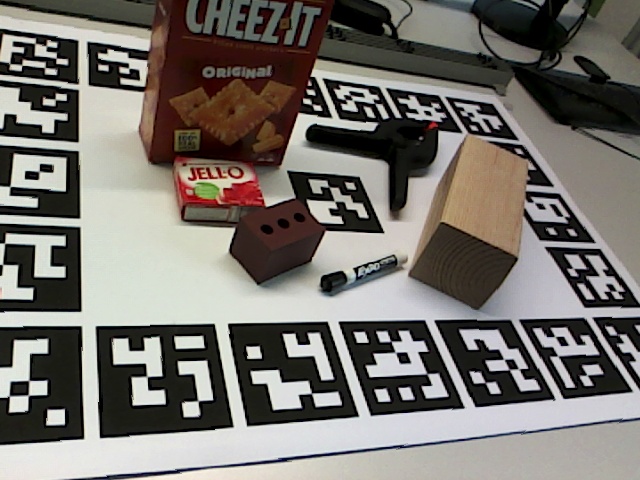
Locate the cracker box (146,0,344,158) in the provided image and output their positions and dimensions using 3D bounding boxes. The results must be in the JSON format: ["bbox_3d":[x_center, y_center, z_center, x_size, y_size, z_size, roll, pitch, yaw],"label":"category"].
[{"bbox_3d":[-0.089,-0.190,0.676,0.163,0.214,0.072,0,48,-28],"label":"cracker box"}]

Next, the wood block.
[{"bbox_3d":[0.180,-0.027,0.742,0.090,0.091,0.206,25,40,3],"label":"wood block"}]

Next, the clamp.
[{"bbox_3d":[0.100,-0.125,0.836,0.166,0.036,0.202,44,46,19],"label":"clamp"}]

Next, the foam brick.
[{"bbox_3d":[-0.046,0.003,0.631,0.077,0.051,0.053,-22,62,-38],"label":"foam brick"}]

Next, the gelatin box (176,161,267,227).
[{"bbox_3d":[-0.108,-0.050,0.675,0.089,0.030,0.073,1,50,-24],"label":"gelatin box"}]

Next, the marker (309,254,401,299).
[{"bbox_3d":[0.038,0.038,0.658,0.120,0.019,0.020,-17,59,-36],"label":"marker"}]
